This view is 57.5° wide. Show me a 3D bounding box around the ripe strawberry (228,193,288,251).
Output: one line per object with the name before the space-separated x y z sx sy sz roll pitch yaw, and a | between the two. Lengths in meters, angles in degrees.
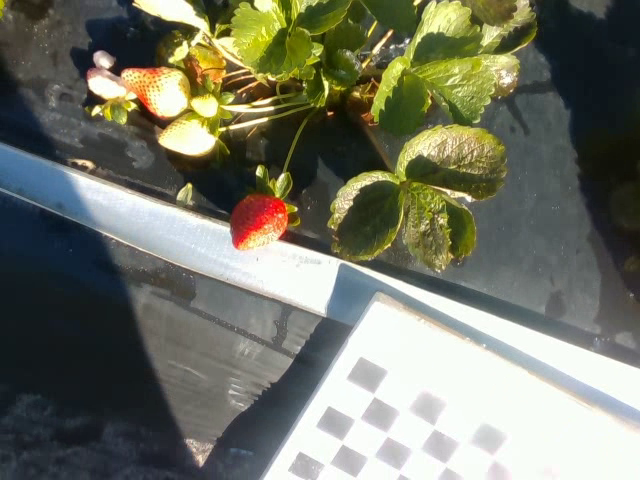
ripe strawberry | -0.036 -0.006 0.305 0.036 0.038 0.045 28 35 2
